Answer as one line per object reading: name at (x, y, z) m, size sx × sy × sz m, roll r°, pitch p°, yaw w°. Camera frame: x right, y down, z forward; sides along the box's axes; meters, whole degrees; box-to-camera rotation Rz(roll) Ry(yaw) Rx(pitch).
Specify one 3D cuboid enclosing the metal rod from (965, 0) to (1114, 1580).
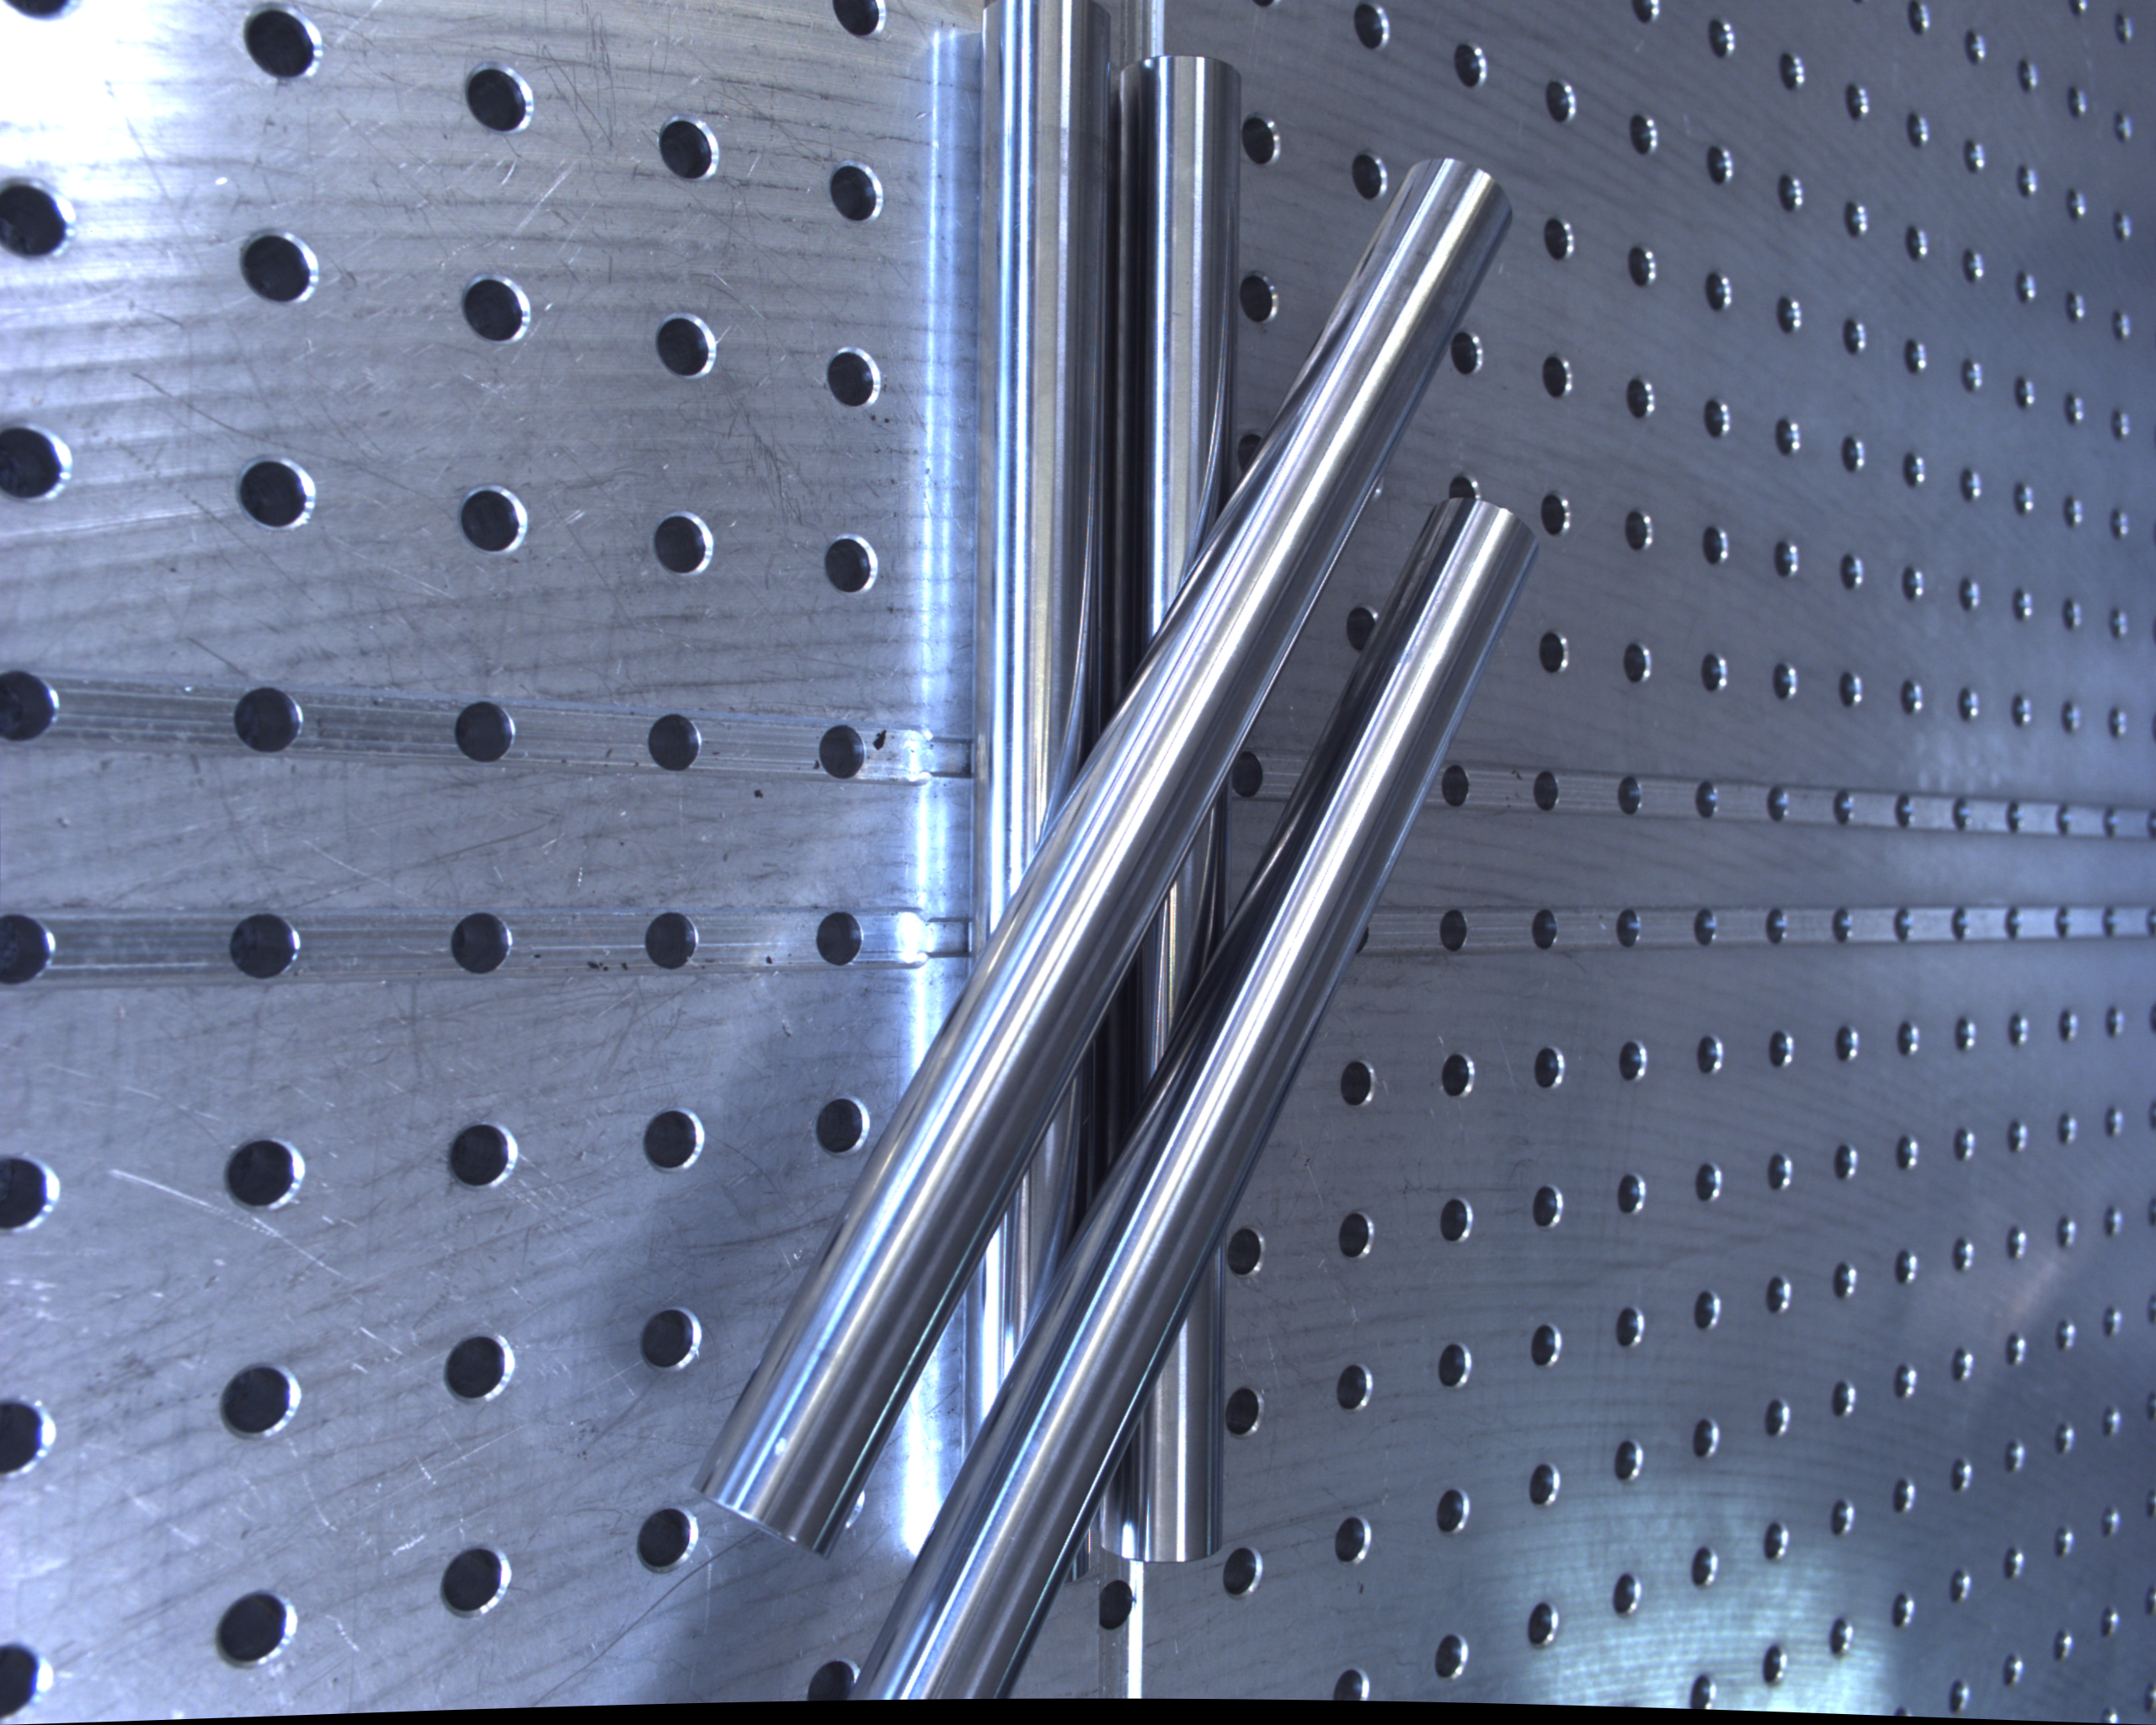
metal rod at (-0.008, -0.014, 0.402) m, size 0.025 × 0.025 × 0.298 m, roll 1°, pitch 89°, yaw -40°

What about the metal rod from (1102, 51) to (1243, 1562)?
metal rod at (0.019, -0.011, 0.425) m, size 0.025 × 0.025 × 0.298 m, roll 1°, pitch 89°, yaw -40°

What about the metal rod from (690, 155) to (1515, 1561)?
metal rod at (0.015, -0.017, 0.389) m, size 0.025 × 0.025 × 0.300 m, roll 42°, pitch 65°, yaw -32°

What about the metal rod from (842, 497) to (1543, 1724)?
metal rod at (0.023, 0.053, 0.394) m, size 0.025 × 0.025 × 0.300 m, roll 42°, pitch 65°, yaw -32°
